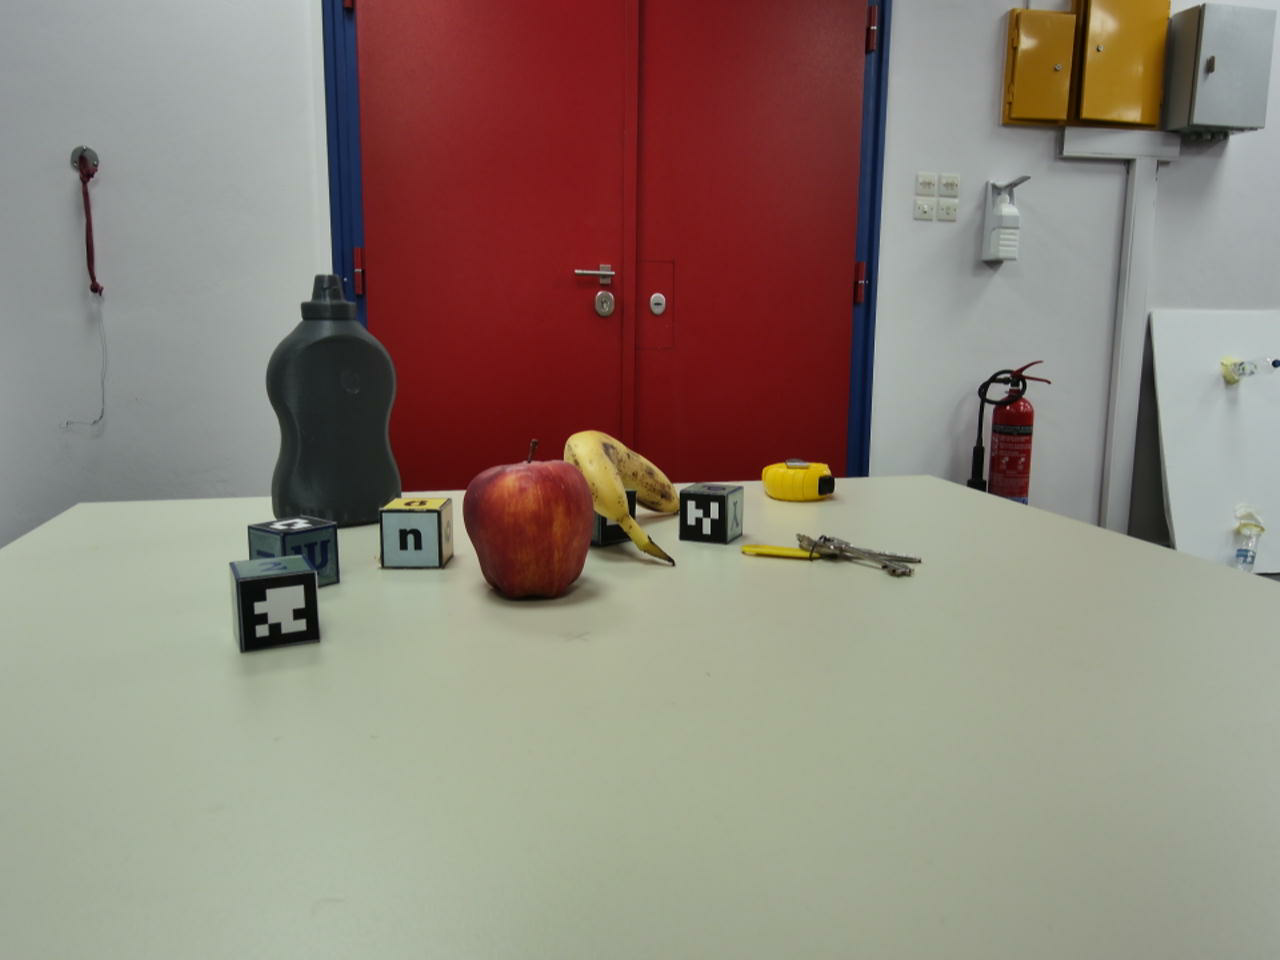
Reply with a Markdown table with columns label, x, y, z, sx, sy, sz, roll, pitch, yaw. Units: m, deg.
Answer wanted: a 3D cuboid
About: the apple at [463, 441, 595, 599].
| label | x | y | z | sx | sy | sz | roll | pitch | yaw |
| --- | --- | --- | --- | --- | --- | --- | --- | --- | --- |
| apple | -0.066 | 0.021 | 0.589 | 0.083 | 0.090 | 0.083 | 1 | 7 | 0 |
